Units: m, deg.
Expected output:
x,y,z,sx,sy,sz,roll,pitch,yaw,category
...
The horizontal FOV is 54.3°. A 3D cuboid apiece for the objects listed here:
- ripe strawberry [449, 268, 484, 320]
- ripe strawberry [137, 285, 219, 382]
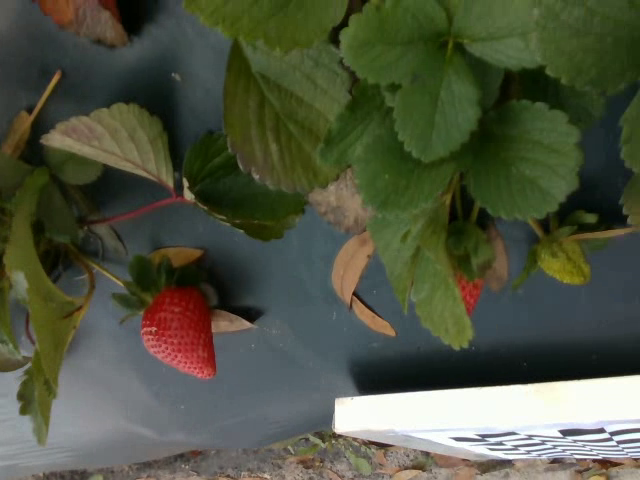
x,y,z,sx,sy,sz,roll,pitch,yaw,category
0.063,0.031,0.301,0.040,0.042,0.037,-8,17,16,ripe strawberry
-0.075,0.058,0.363,0.065,0.043,0.046,47,4,30,ripe strawberry
